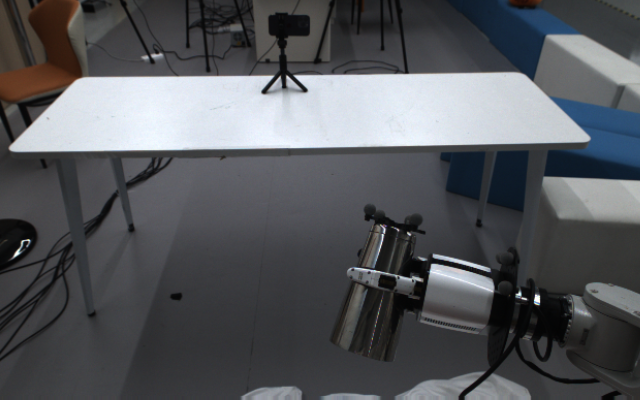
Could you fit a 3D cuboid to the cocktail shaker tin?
[{"bbox_3d":[0.079,0.123,0.669,0.093,0.170,0.093,16,-7,2],"label":"cocktail shaker tin"}]
